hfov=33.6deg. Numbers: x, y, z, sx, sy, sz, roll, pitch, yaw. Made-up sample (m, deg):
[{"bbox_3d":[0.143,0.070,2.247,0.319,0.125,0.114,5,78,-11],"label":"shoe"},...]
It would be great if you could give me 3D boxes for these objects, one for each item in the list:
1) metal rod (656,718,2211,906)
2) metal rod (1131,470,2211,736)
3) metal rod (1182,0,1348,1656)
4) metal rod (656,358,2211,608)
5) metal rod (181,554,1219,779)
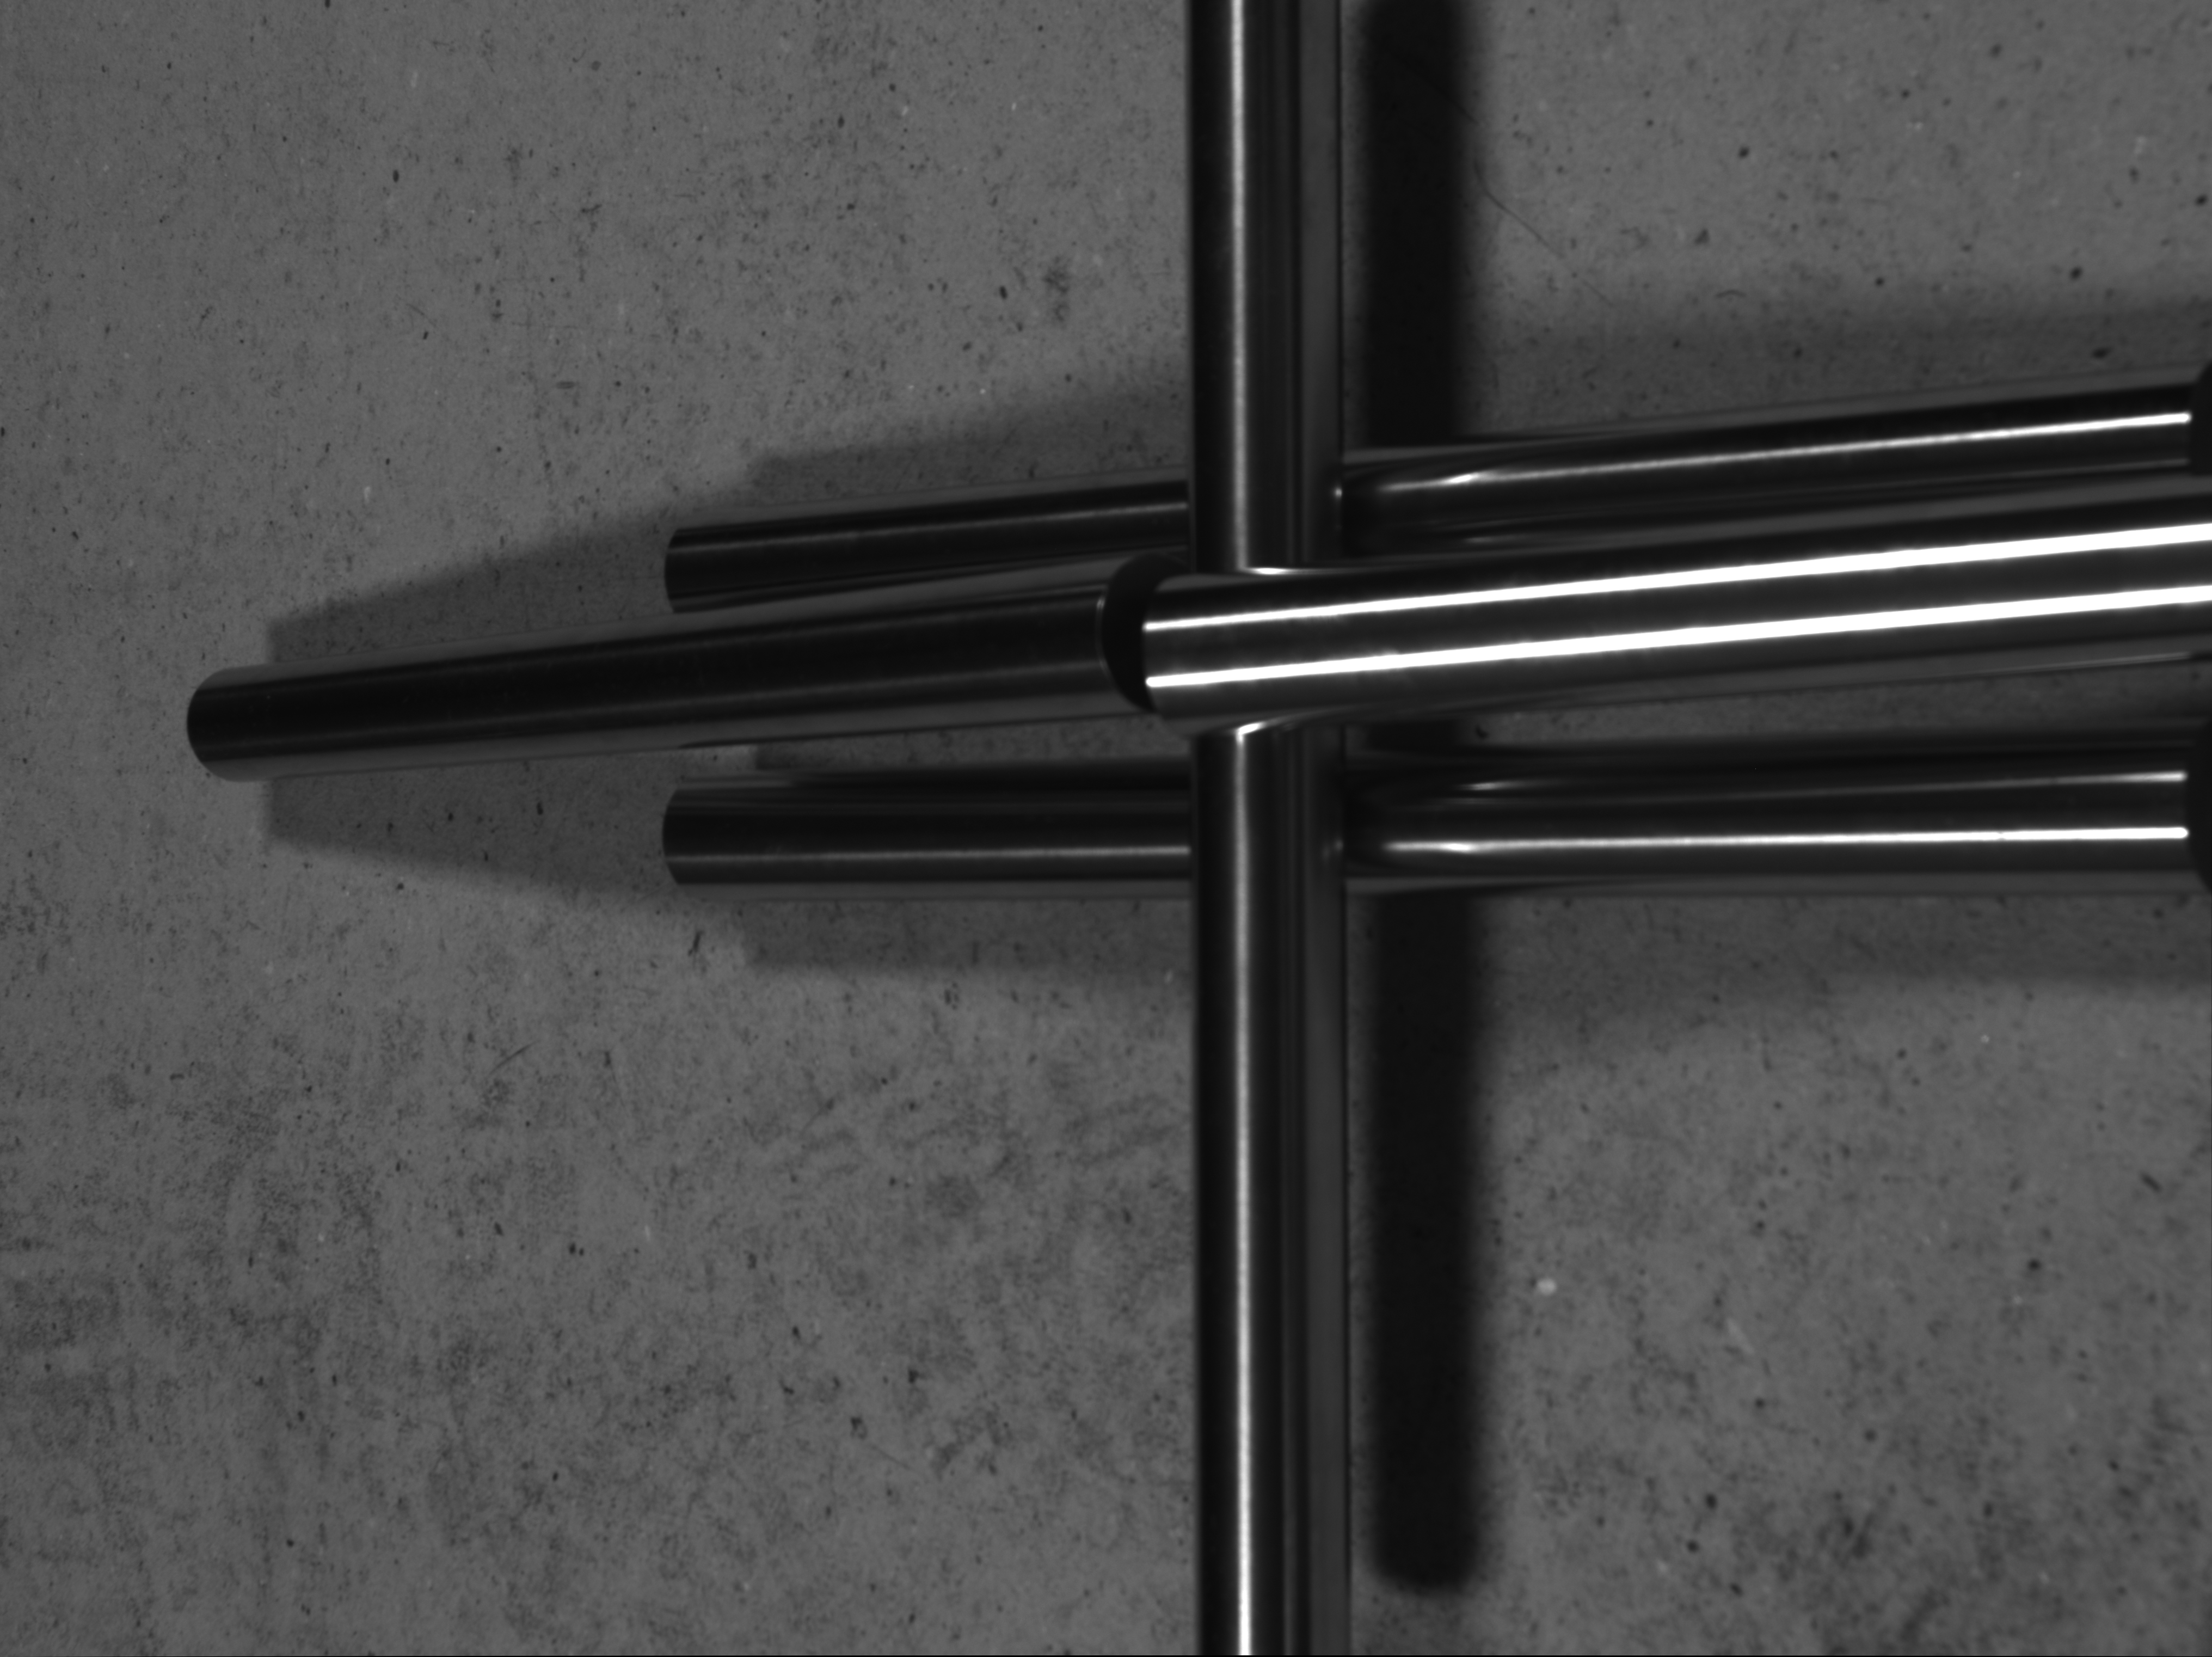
[{"bbox_3d":[0.039,0.000,0.604,0.299,0.025,0.025,-1,89,39],"label":"metal rod"},{"bbox_3d":[0.140,-0.035,0.489,0.299,0.025,0.025,-4,88,29],"label":"metal rod"},{"bbox_3d":[0.025,-0.009,0.583,0.025,0.025,0.300,-1,89,39],"label":"metal rod"},{"bbox_3d":[0.039,-0.050,0.604,0.299,0.025,0.025,-1,89,39],"label":"metal rod"},{"bbox_3d":[-0.090,-0.026,0.678,0.299,0.025,0.025,-2,88,49],"label":"metal rod"}]
